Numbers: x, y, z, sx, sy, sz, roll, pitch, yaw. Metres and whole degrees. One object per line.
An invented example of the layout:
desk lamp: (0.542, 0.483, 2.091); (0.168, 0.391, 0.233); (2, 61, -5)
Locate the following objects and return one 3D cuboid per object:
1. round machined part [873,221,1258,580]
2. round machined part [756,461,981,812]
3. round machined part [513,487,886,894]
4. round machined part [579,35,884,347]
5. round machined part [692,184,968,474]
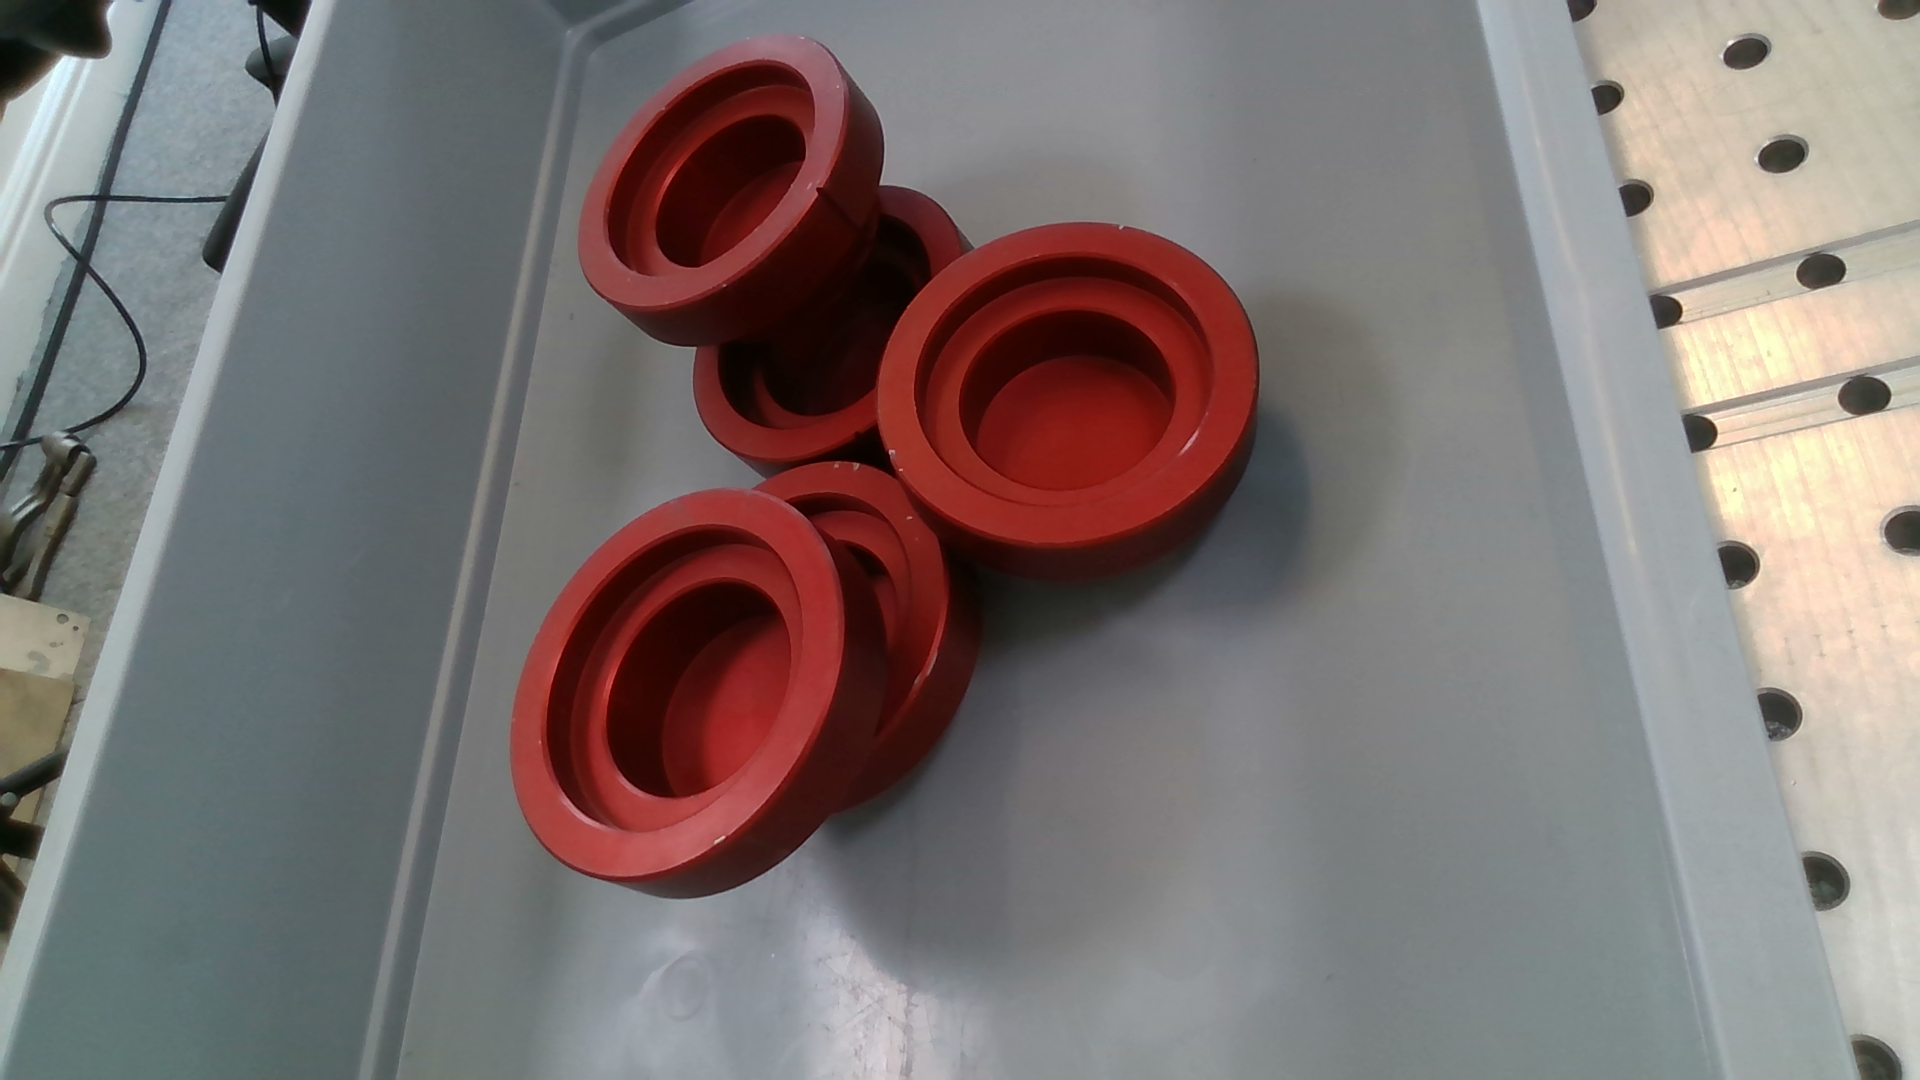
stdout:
round machined part: (0.029, -0.033, 0.367); (0.098, 0.042, 0.098); (-5, 63, 9)
round machined part: (-0.037, 0.030, 0.388); (0.098, 0.042, 0.098); (-14, 59, 25)
round machined part: (-0.060, 0.040, 0.343); (0.098, 0.042, 0.098); (-14, 59, 25)
round machined part: (-0.065, -0.101, 0.420); (0.098, 0.042, 0.098); (-14, 59, 25)
round machined part: (-0.032, -0.059, 0.432); (0.098, 0.042, 0.098); (-14, 59, 25)
